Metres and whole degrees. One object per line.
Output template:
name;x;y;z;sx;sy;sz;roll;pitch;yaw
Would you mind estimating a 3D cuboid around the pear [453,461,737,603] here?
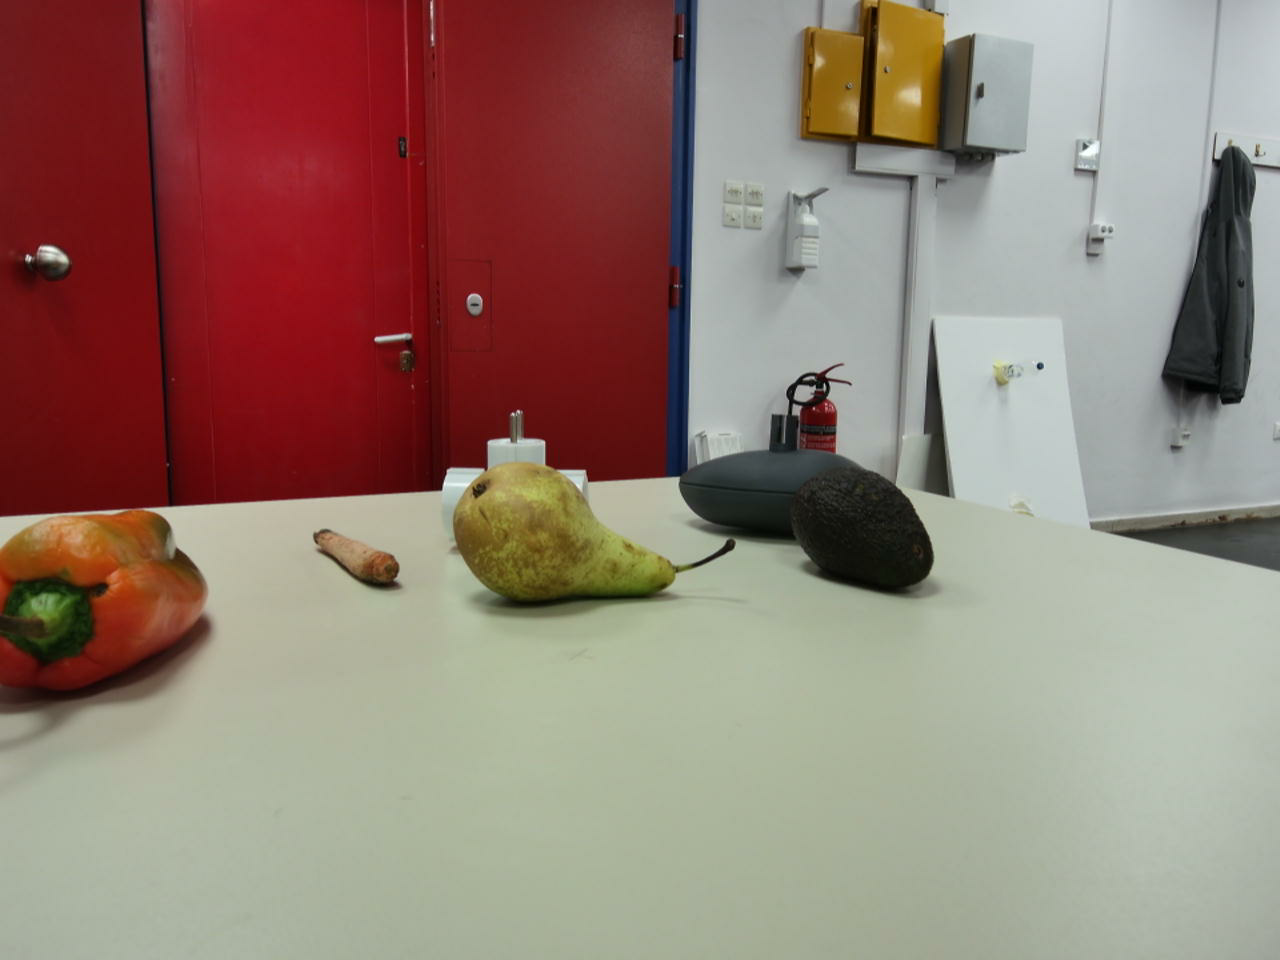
pear;-0.029;0.027;0.544;0.144;0.075;0.071;-3;7;-17
